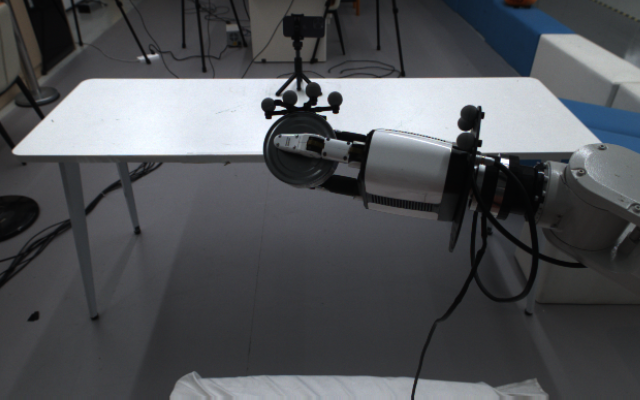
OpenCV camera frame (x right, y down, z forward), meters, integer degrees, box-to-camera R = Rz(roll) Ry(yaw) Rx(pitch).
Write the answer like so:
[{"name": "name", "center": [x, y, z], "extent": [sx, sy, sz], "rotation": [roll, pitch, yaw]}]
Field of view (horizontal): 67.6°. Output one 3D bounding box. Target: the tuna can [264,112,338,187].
[{"name": "tuna can", "center": [-0.017, -0.052, 0.557], "extent": [0.085, 0.085, 0.034], "rotation": [10, -6, 11]}]
